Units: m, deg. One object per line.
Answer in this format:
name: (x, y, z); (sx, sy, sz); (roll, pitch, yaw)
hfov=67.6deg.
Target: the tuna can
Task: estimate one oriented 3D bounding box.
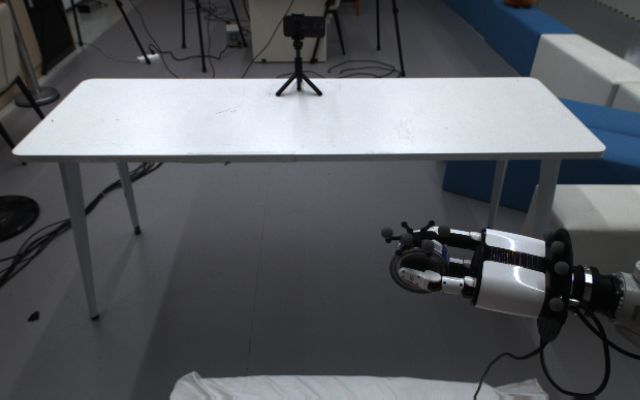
tuna can: (0.149, 0.093, 0.711); (0.085, 0.085, 0.034); (10, 33, 11)
